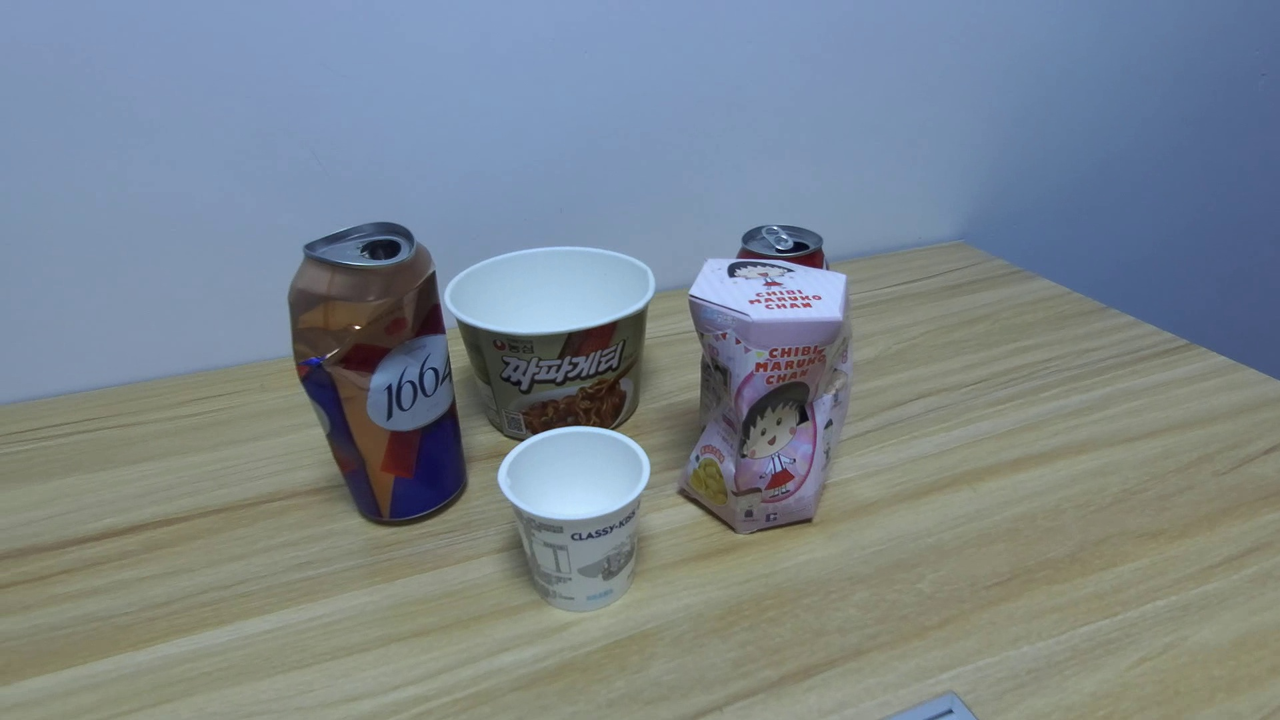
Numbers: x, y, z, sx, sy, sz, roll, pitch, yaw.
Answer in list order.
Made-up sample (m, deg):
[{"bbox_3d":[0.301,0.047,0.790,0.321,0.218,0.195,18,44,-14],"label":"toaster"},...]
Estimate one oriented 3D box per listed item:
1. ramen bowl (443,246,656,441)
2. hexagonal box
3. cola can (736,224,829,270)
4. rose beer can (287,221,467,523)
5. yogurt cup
[{"bbox_3d":[-0.058,-0.010,0.496,0.140,0.095,0.140,-1,28,1],"label":"ramen bowl"},{"bbox_3d":[0.064,0.019,0.393,0.093,0.135,0.089,23,38,36],"label":"hexagonal box"},{"bbox_3d":[0.097,-0.035,0.504,0.066,0.117,0.066,2,31,6],"label":"cola can"},{"bbox_3d":[-0.140,0.010,0.393,0.068,0.162,0.073,-6,30,-9],"label":"rose beer can"},{"bbox_3d":[-0.030,0.082,0.355,0.072,0.068,0.072,-1,30,1],"label":"yogurt cup"}]
